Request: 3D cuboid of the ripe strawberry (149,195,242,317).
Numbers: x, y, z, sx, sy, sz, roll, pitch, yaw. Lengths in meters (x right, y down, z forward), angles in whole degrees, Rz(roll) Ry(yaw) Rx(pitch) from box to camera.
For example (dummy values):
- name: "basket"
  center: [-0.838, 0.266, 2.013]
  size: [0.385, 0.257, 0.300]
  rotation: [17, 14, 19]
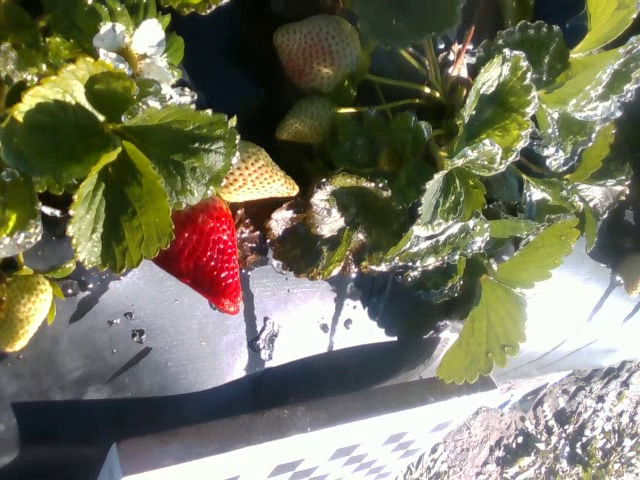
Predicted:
- name: "ripe strawberry"
  center: [-0.046, 0.008, 0.235]
  size: [0.040, 0.053, 0.042]
  rotation: [-27, -5, -6]
